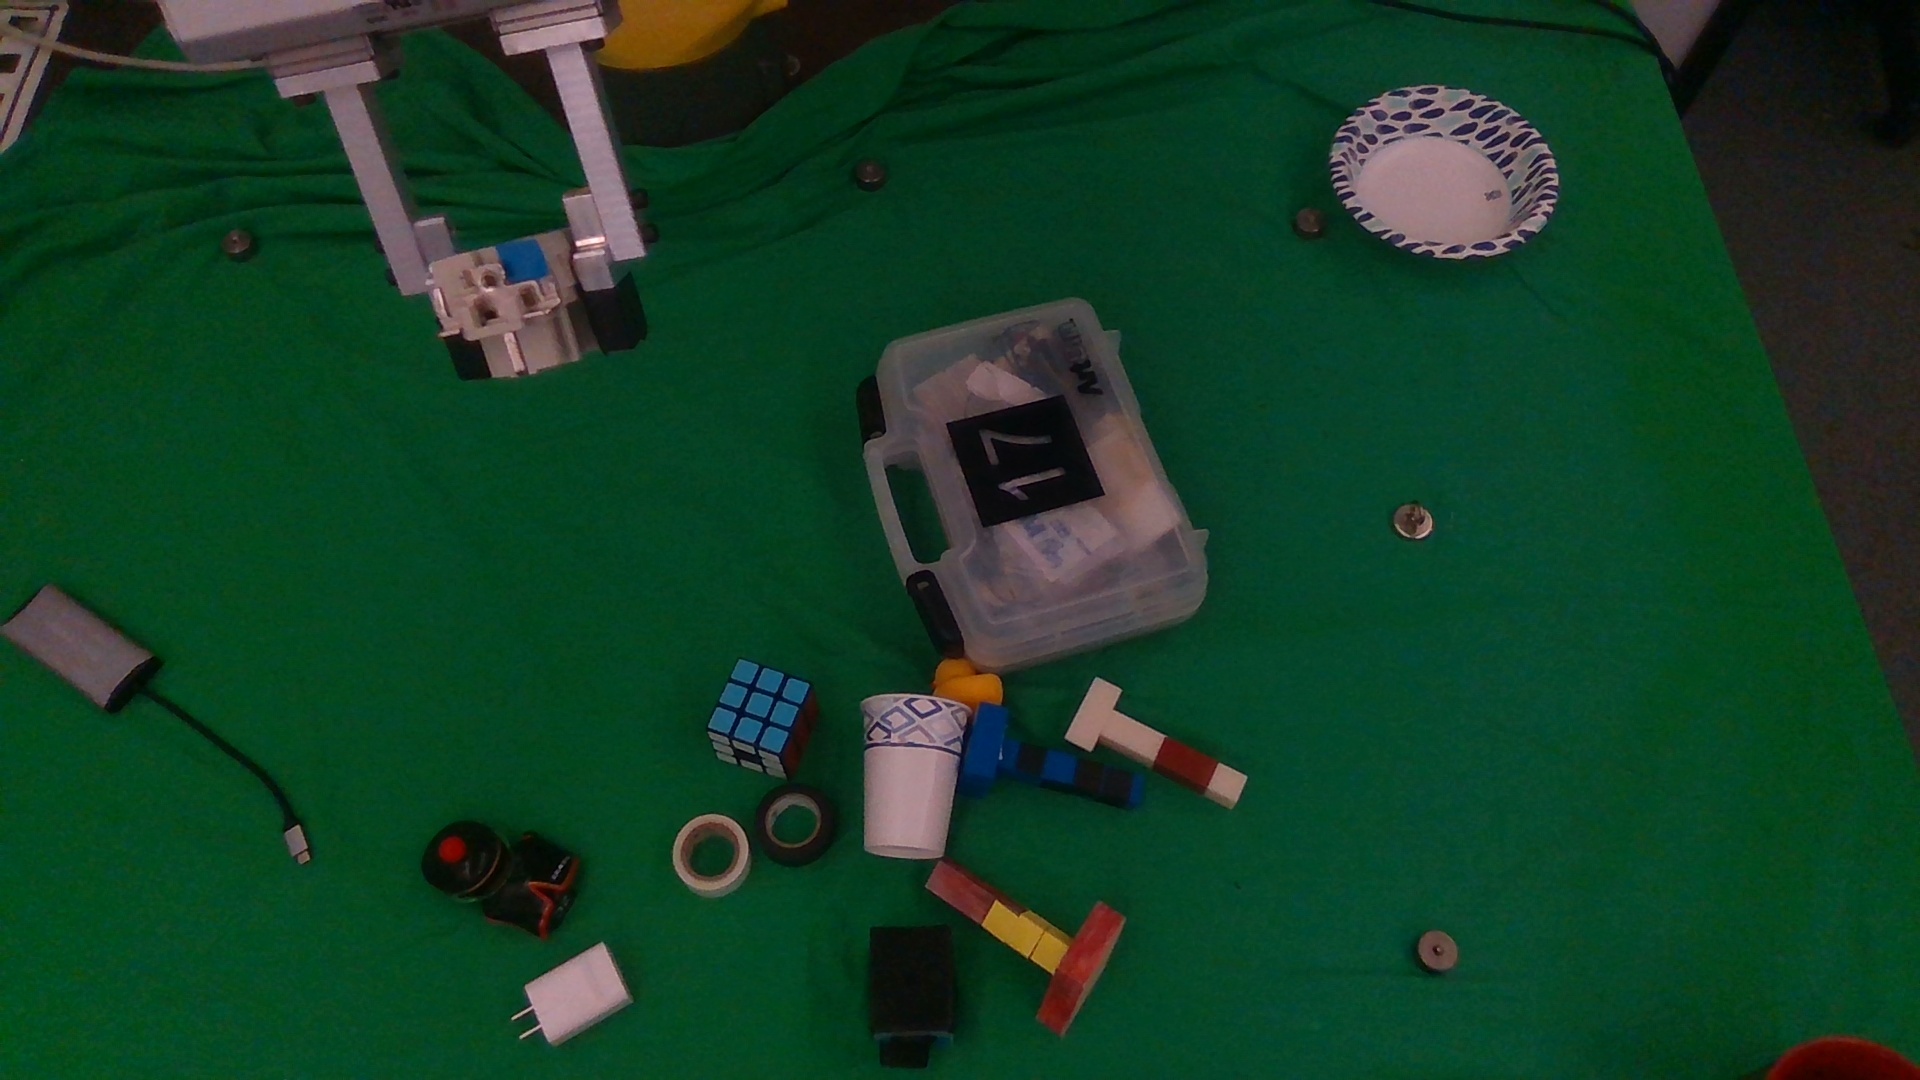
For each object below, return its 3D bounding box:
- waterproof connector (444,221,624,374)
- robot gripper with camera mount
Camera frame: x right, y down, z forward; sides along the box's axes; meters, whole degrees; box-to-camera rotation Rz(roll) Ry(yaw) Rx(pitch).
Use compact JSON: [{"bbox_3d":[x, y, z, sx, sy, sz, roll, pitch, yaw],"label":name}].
[{"bbox_3d":[-0.120,-0.069,0.396,0.035,0.065,0.037,-11,106,4],"label":"waterproof connector"},{"bbox_3d":[-0.133,-0.156,0.439,0.119,0.158,0.193,-7,26,4],"label":"robot gripper with camera mount"}]
